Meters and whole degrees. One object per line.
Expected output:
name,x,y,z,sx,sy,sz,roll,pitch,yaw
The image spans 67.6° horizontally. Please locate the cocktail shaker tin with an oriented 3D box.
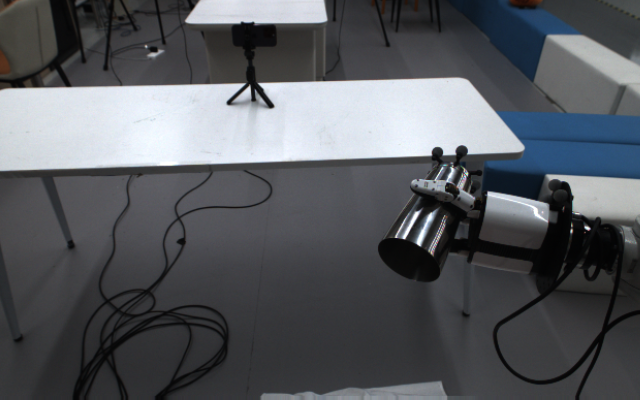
cocktail shaker tin,0.164,0.018,0.699,0.093,0.093,0.170,19,55,22
